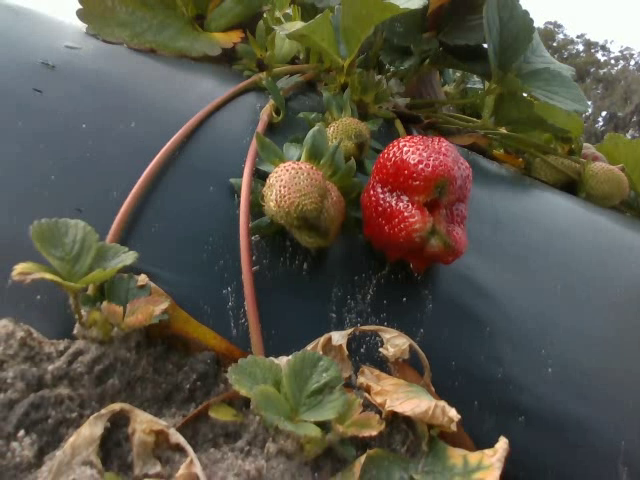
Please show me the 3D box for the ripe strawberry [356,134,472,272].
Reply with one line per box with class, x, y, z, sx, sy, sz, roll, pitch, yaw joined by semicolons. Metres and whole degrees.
ripe strawberry;0.046;-0.026;0.271;0.066;0.075;0.053;9;-33;-11
